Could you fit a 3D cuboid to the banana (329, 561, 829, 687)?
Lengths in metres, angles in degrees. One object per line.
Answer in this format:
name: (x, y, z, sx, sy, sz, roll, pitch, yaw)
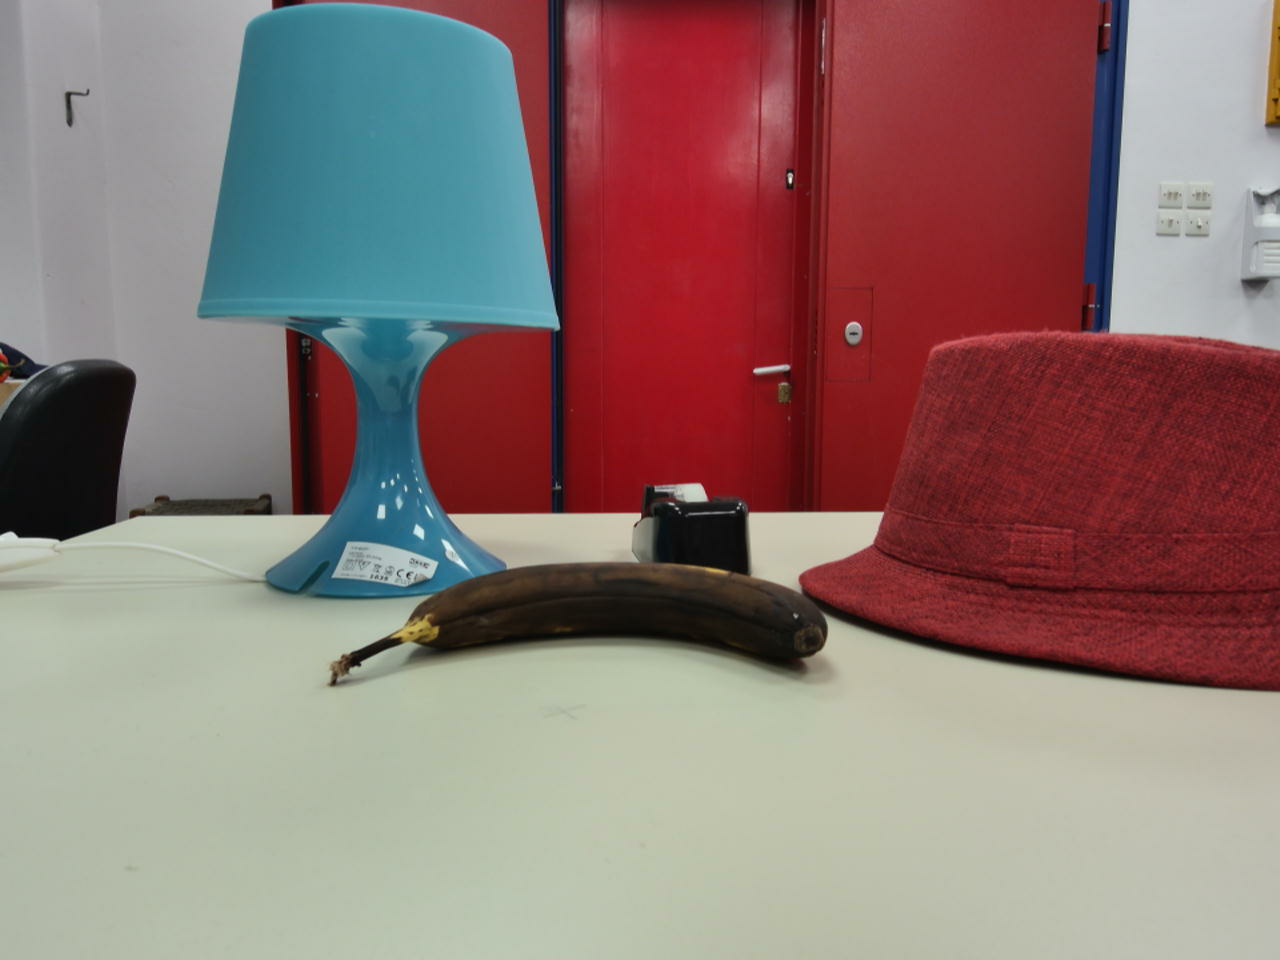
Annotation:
banana: (-0.021, 0.054, 0.413, 0.188, 0.033, 0.091, 0, 4, 1)
